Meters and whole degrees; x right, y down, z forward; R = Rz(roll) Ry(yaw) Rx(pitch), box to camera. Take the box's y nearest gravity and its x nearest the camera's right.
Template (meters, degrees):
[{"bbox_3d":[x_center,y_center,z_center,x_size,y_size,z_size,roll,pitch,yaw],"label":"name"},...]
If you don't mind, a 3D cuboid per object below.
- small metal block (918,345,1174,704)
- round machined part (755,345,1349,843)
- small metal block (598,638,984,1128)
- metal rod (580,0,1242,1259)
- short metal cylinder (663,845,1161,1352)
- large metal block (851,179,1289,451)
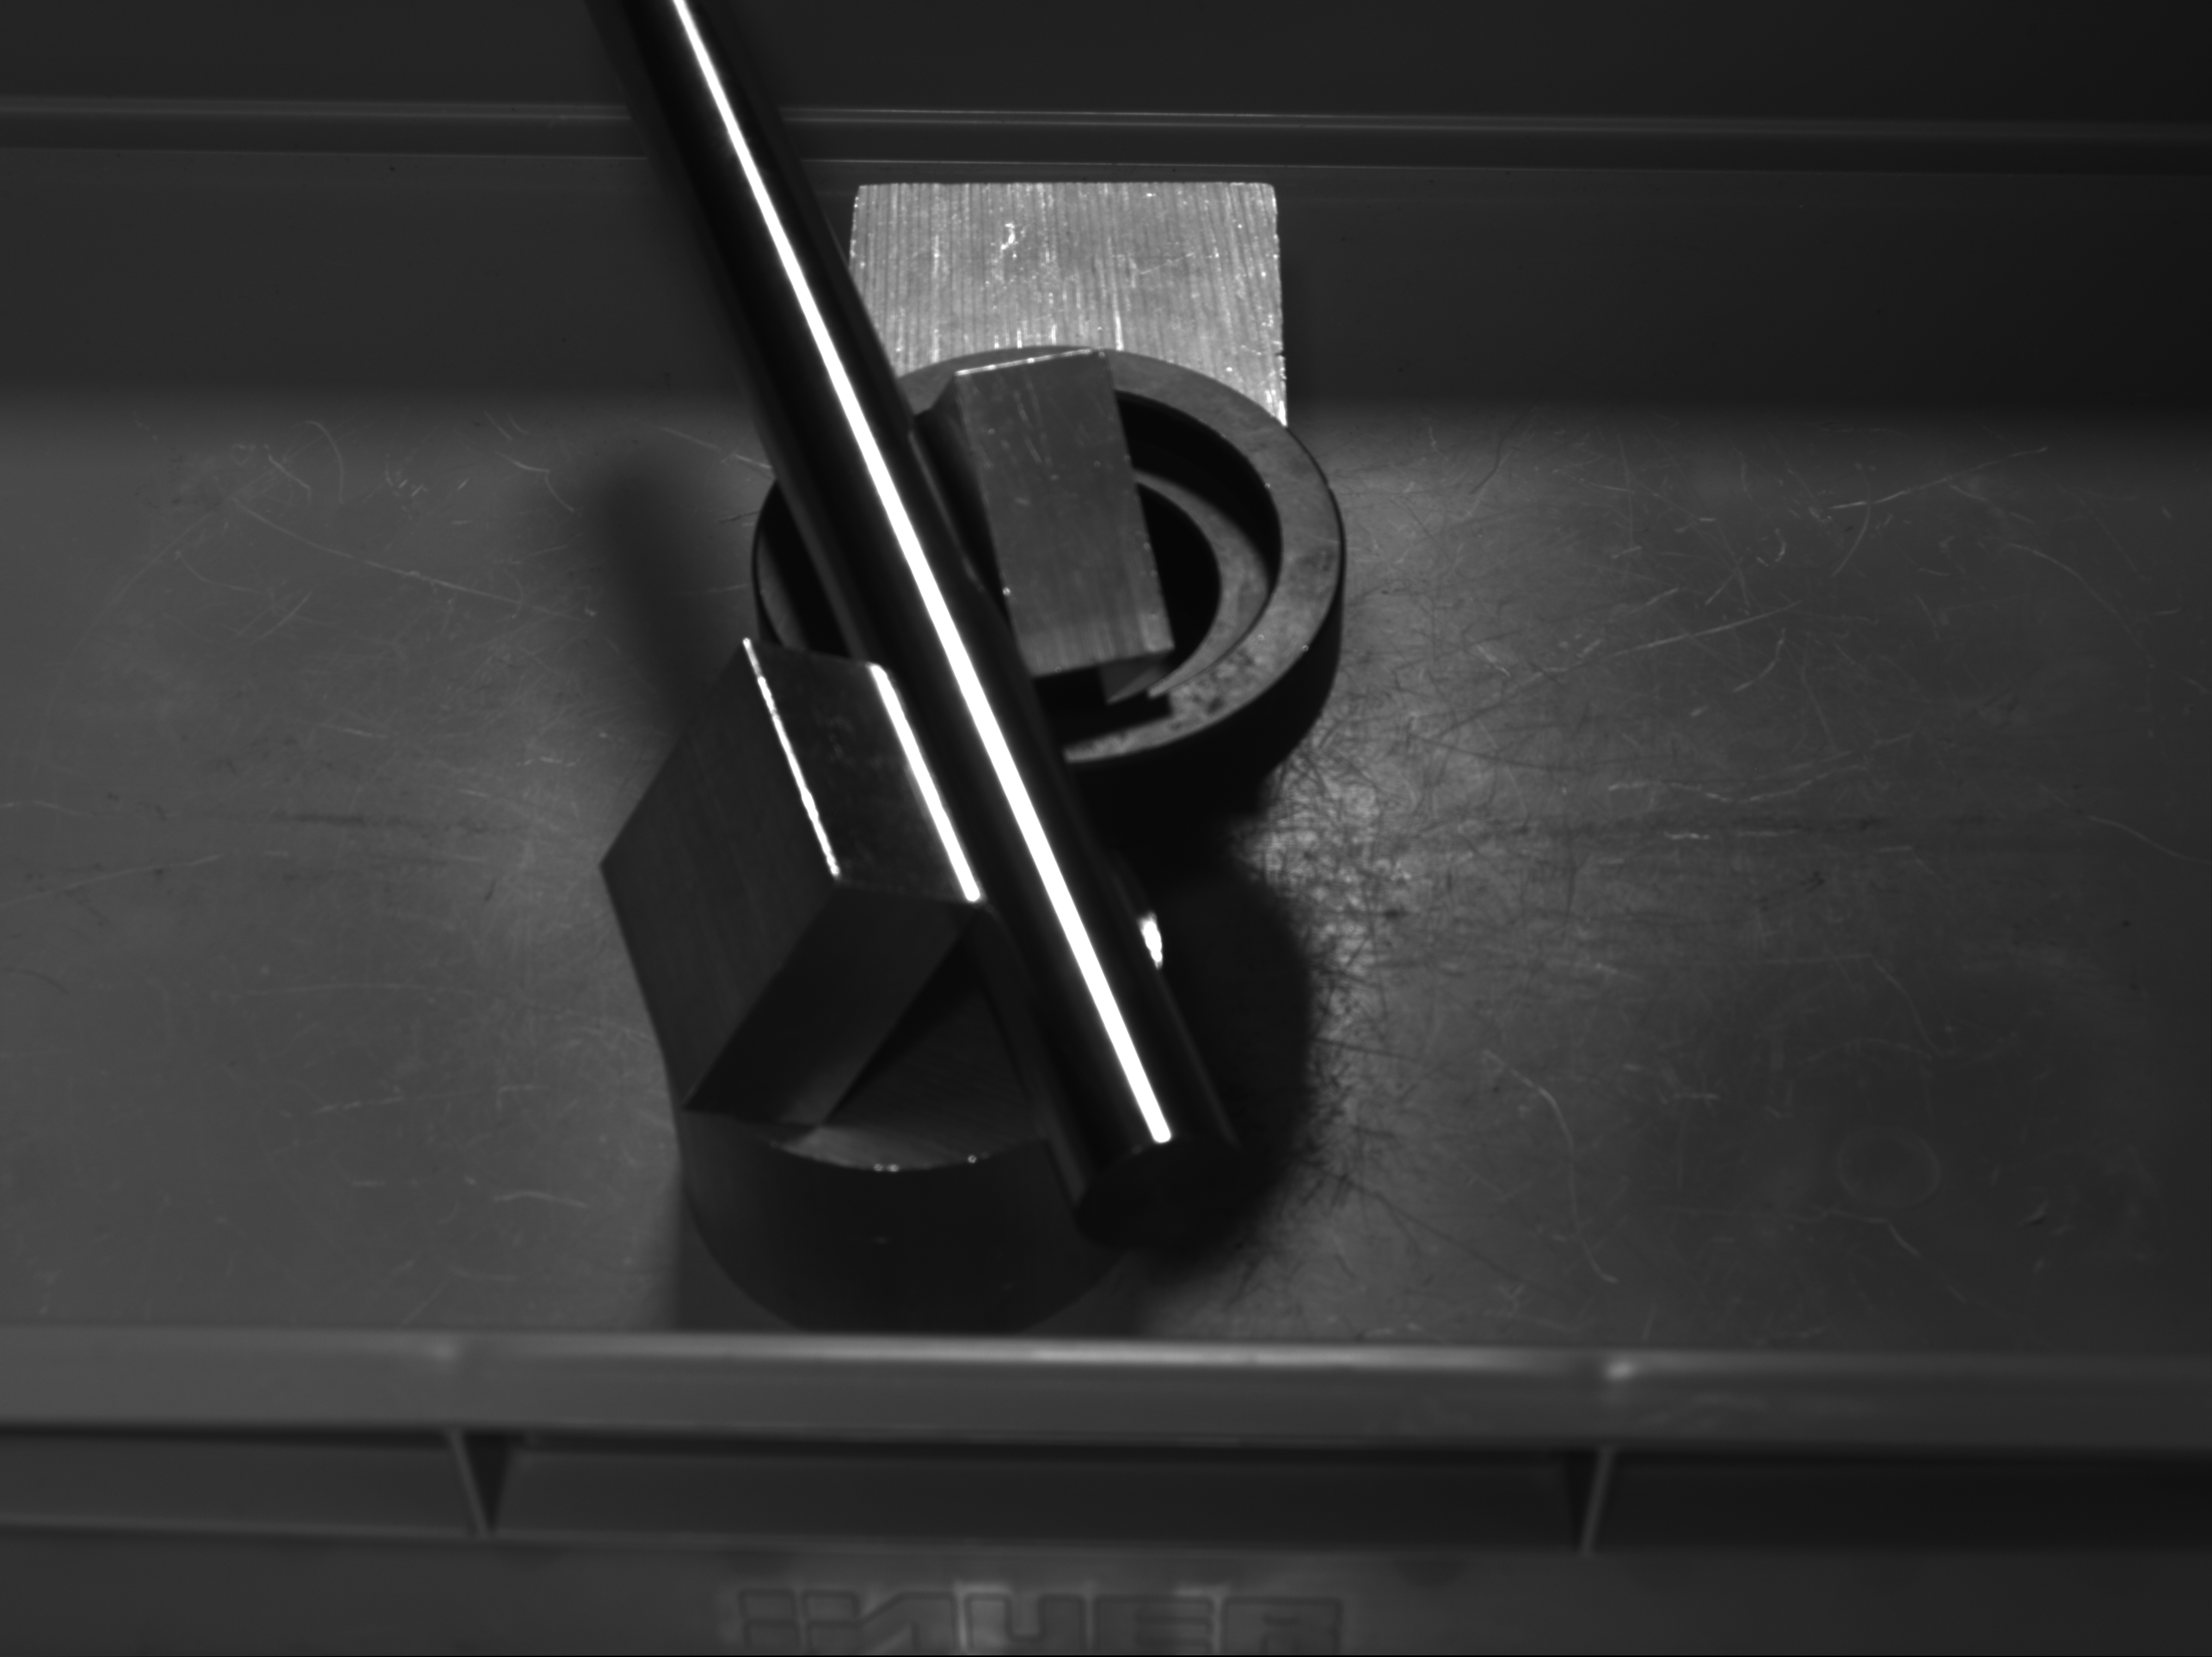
[{"bbox_3d":[-0.012,-0.047,0.601,0.025,0.050,0.050,-12,85,-14],"label":"small metal block"},{"bbox_3d":[-0.009,-0.034,0.620,0.098,0.042,0.098,0,50,0],"label":"round machined part"},{"bbox_3d":[-0.048,0.009,0.549,0.025,0.050,0.050,11,40,-36],"label":"small metal block"},{"bbox_3d":[-0.041,-0.057,0.597,0.025,0.025,0.299,-15,51,-12],"label":"metal rod"},{"bbox_3d":[-0.031,0.037,0.594,0.080,0.050,0.080,0,50,0],"label":"short metal cylinder"},{"bbox_3d":[-0.007,-0.076,0.687,0.080,0.050,0.080,0,50,0],"label":"large metal block"}]
